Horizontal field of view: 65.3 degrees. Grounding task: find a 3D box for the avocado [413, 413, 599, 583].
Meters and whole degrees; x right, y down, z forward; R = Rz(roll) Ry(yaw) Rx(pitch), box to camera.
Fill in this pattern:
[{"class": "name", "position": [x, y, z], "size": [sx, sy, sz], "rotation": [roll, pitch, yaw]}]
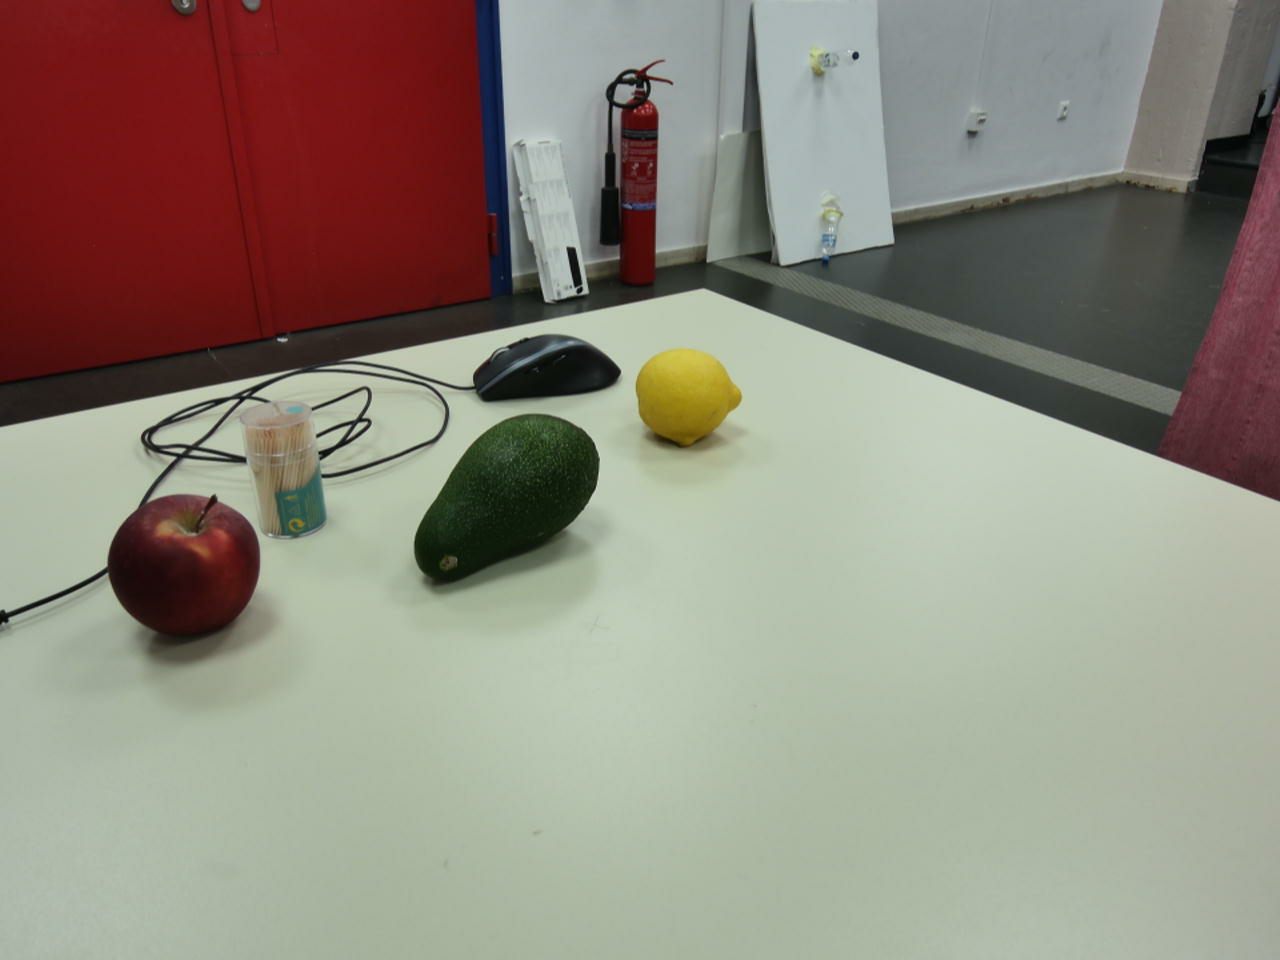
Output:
[{"class": "avocado", "position": [-0.080, 0.004, 0.575], "size": [0.123, 0.076, 0.074], "rotation": [-14, 29, -28]}]
